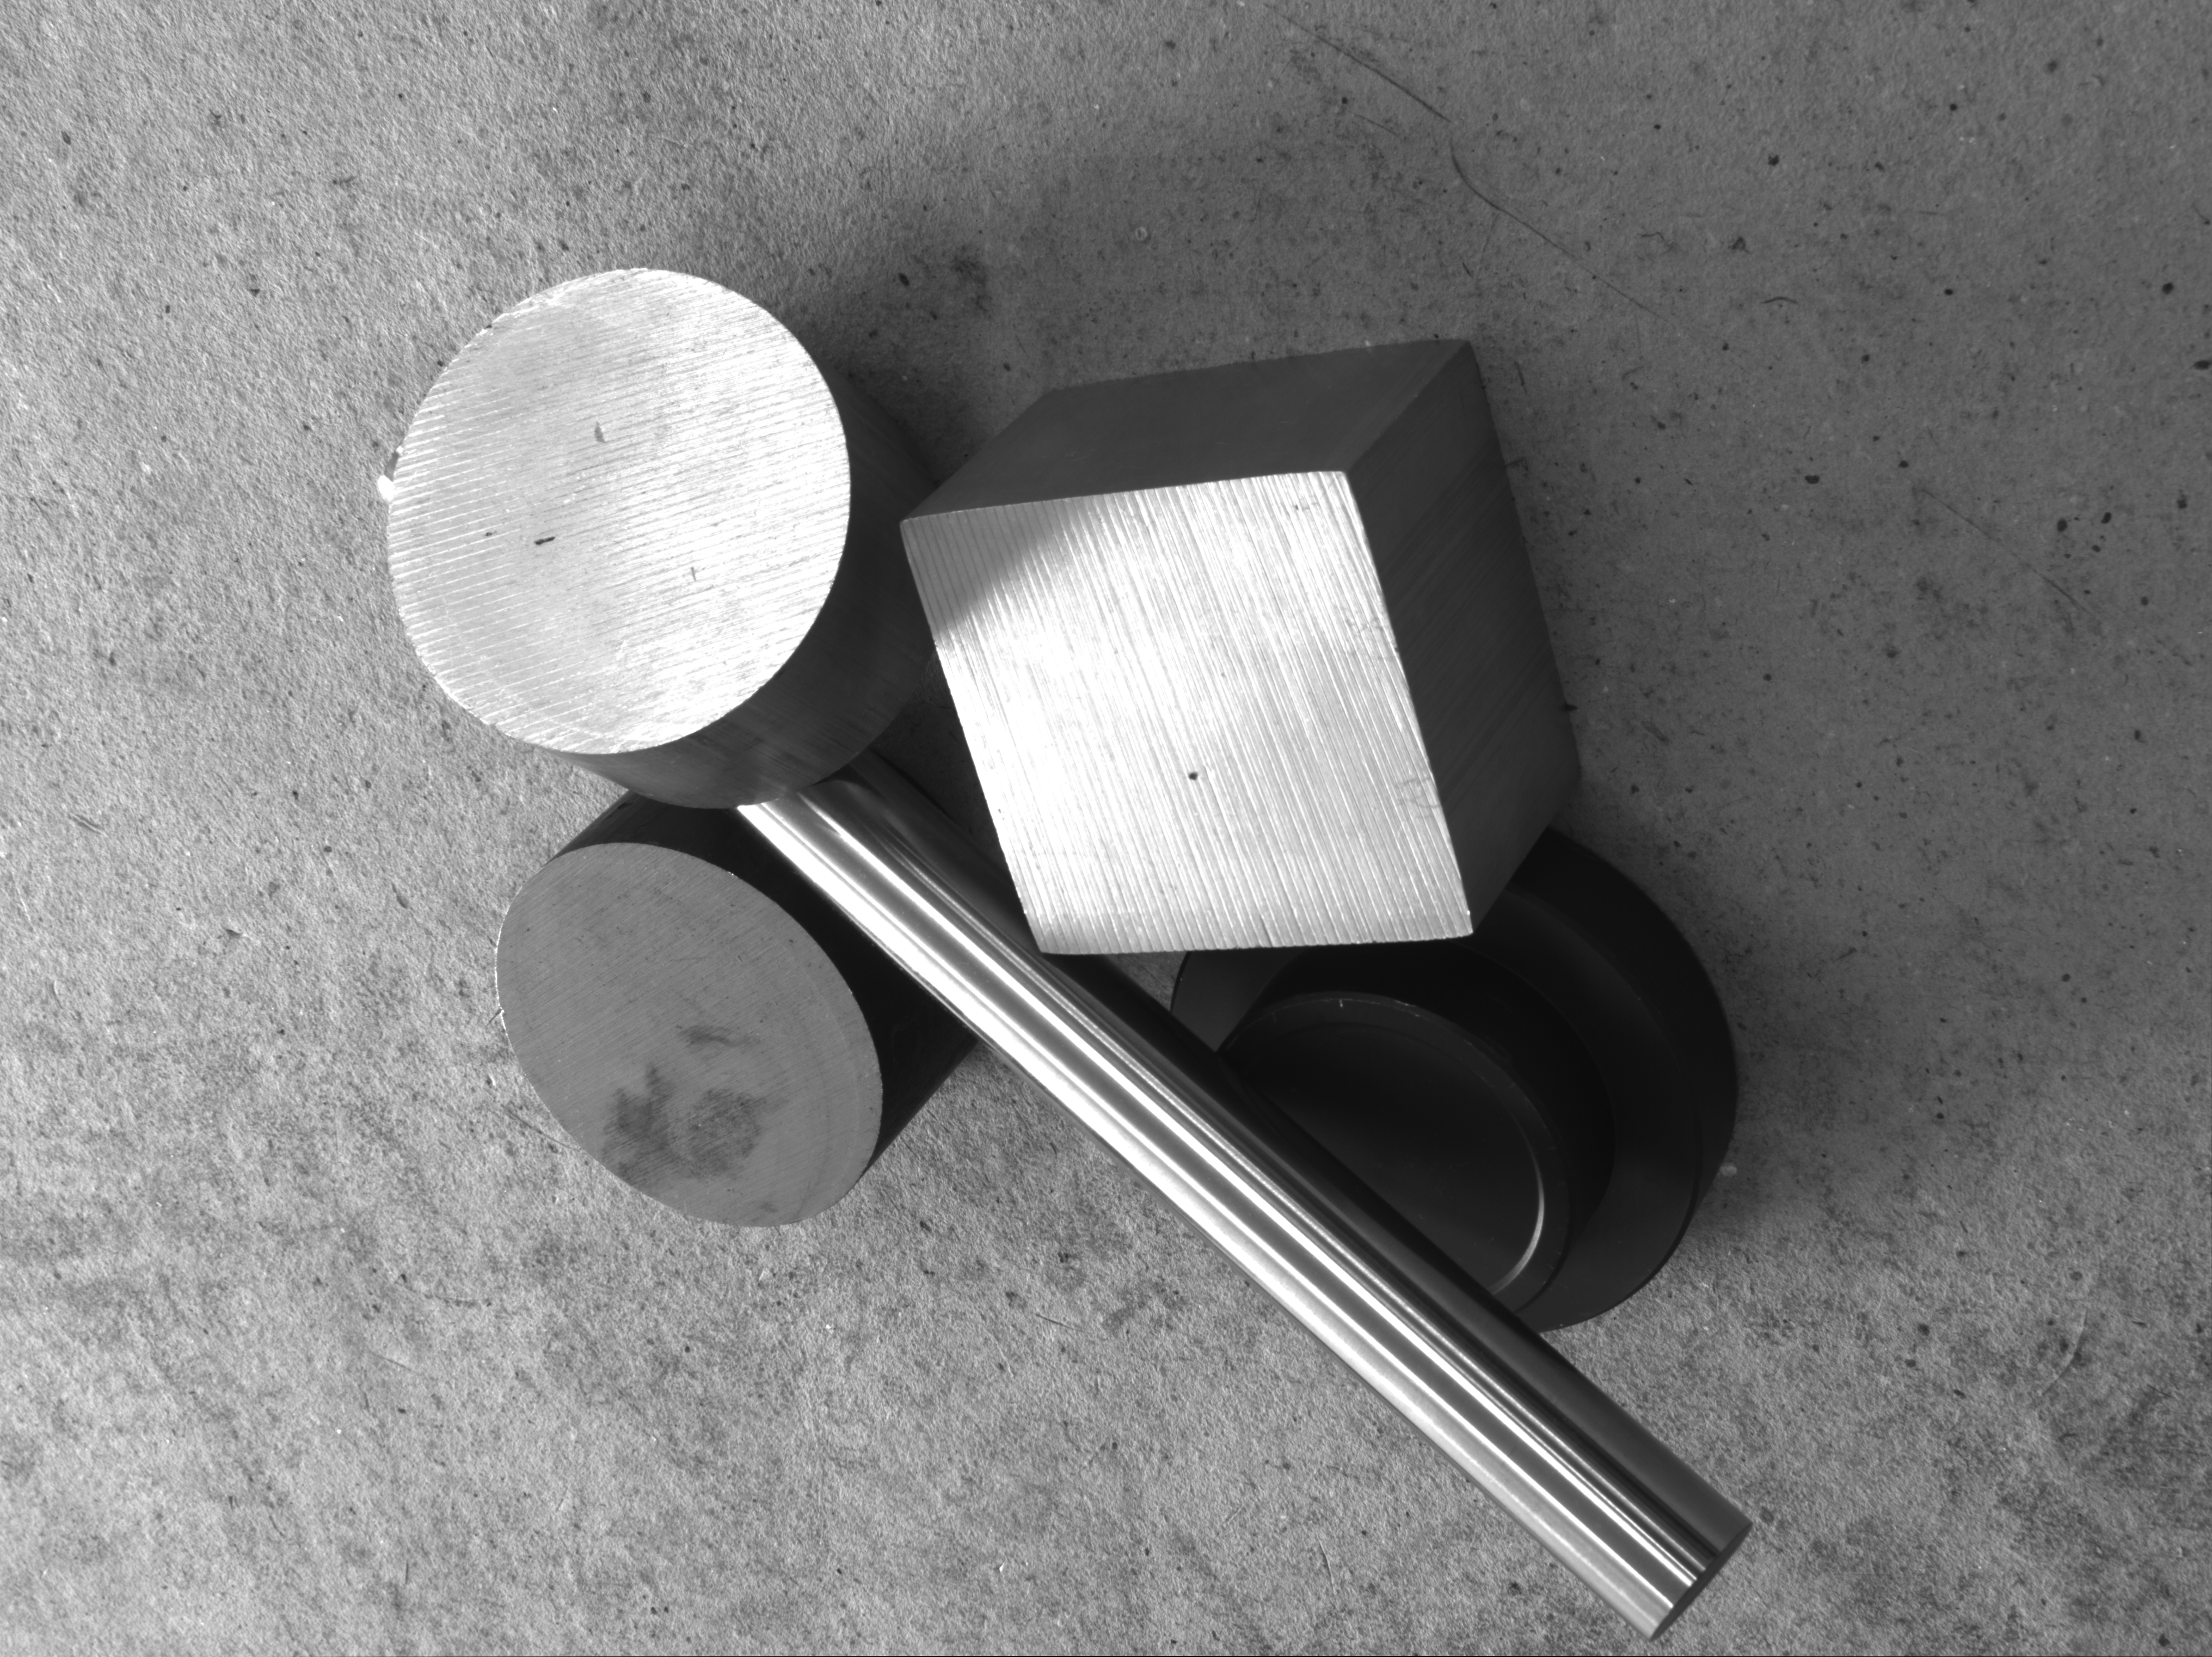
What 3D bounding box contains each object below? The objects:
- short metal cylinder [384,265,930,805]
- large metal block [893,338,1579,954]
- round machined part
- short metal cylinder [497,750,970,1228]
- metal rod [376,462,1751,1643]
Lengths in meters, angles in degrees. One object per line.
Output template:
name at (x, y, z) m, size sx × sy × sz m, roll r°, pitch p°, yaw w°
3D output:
short metal cylinder at (-0.073, -0.048, 0.612) m, size 0.080 × 0.050 × 0.080 m, roll -3°, pitch 80°, yaw 14°
large metal block at (0.023, -0.028, 0.595) m, size 0.080 × 0.050 × 0.080 m, roll -3°, pitch 117°, yaw 30°
round machined part at (0.054, 0.048, 0.631) m, size 0.098 × 0.042 × 0.098 m, roll 13°, pitch 124°, yaw 21°
short metal cylinder at (-0.065, 0.027, 0.679) m, size 0.080 × 0.050 × 0.080 m, roll 13°, pitch 124°, yaw 21°
metal rod at (-0.015, 0.026, 0.623) m, size 0.299 × 0.025 × 0.025 m, roll 41°, pitch 131°, yaw 18°
